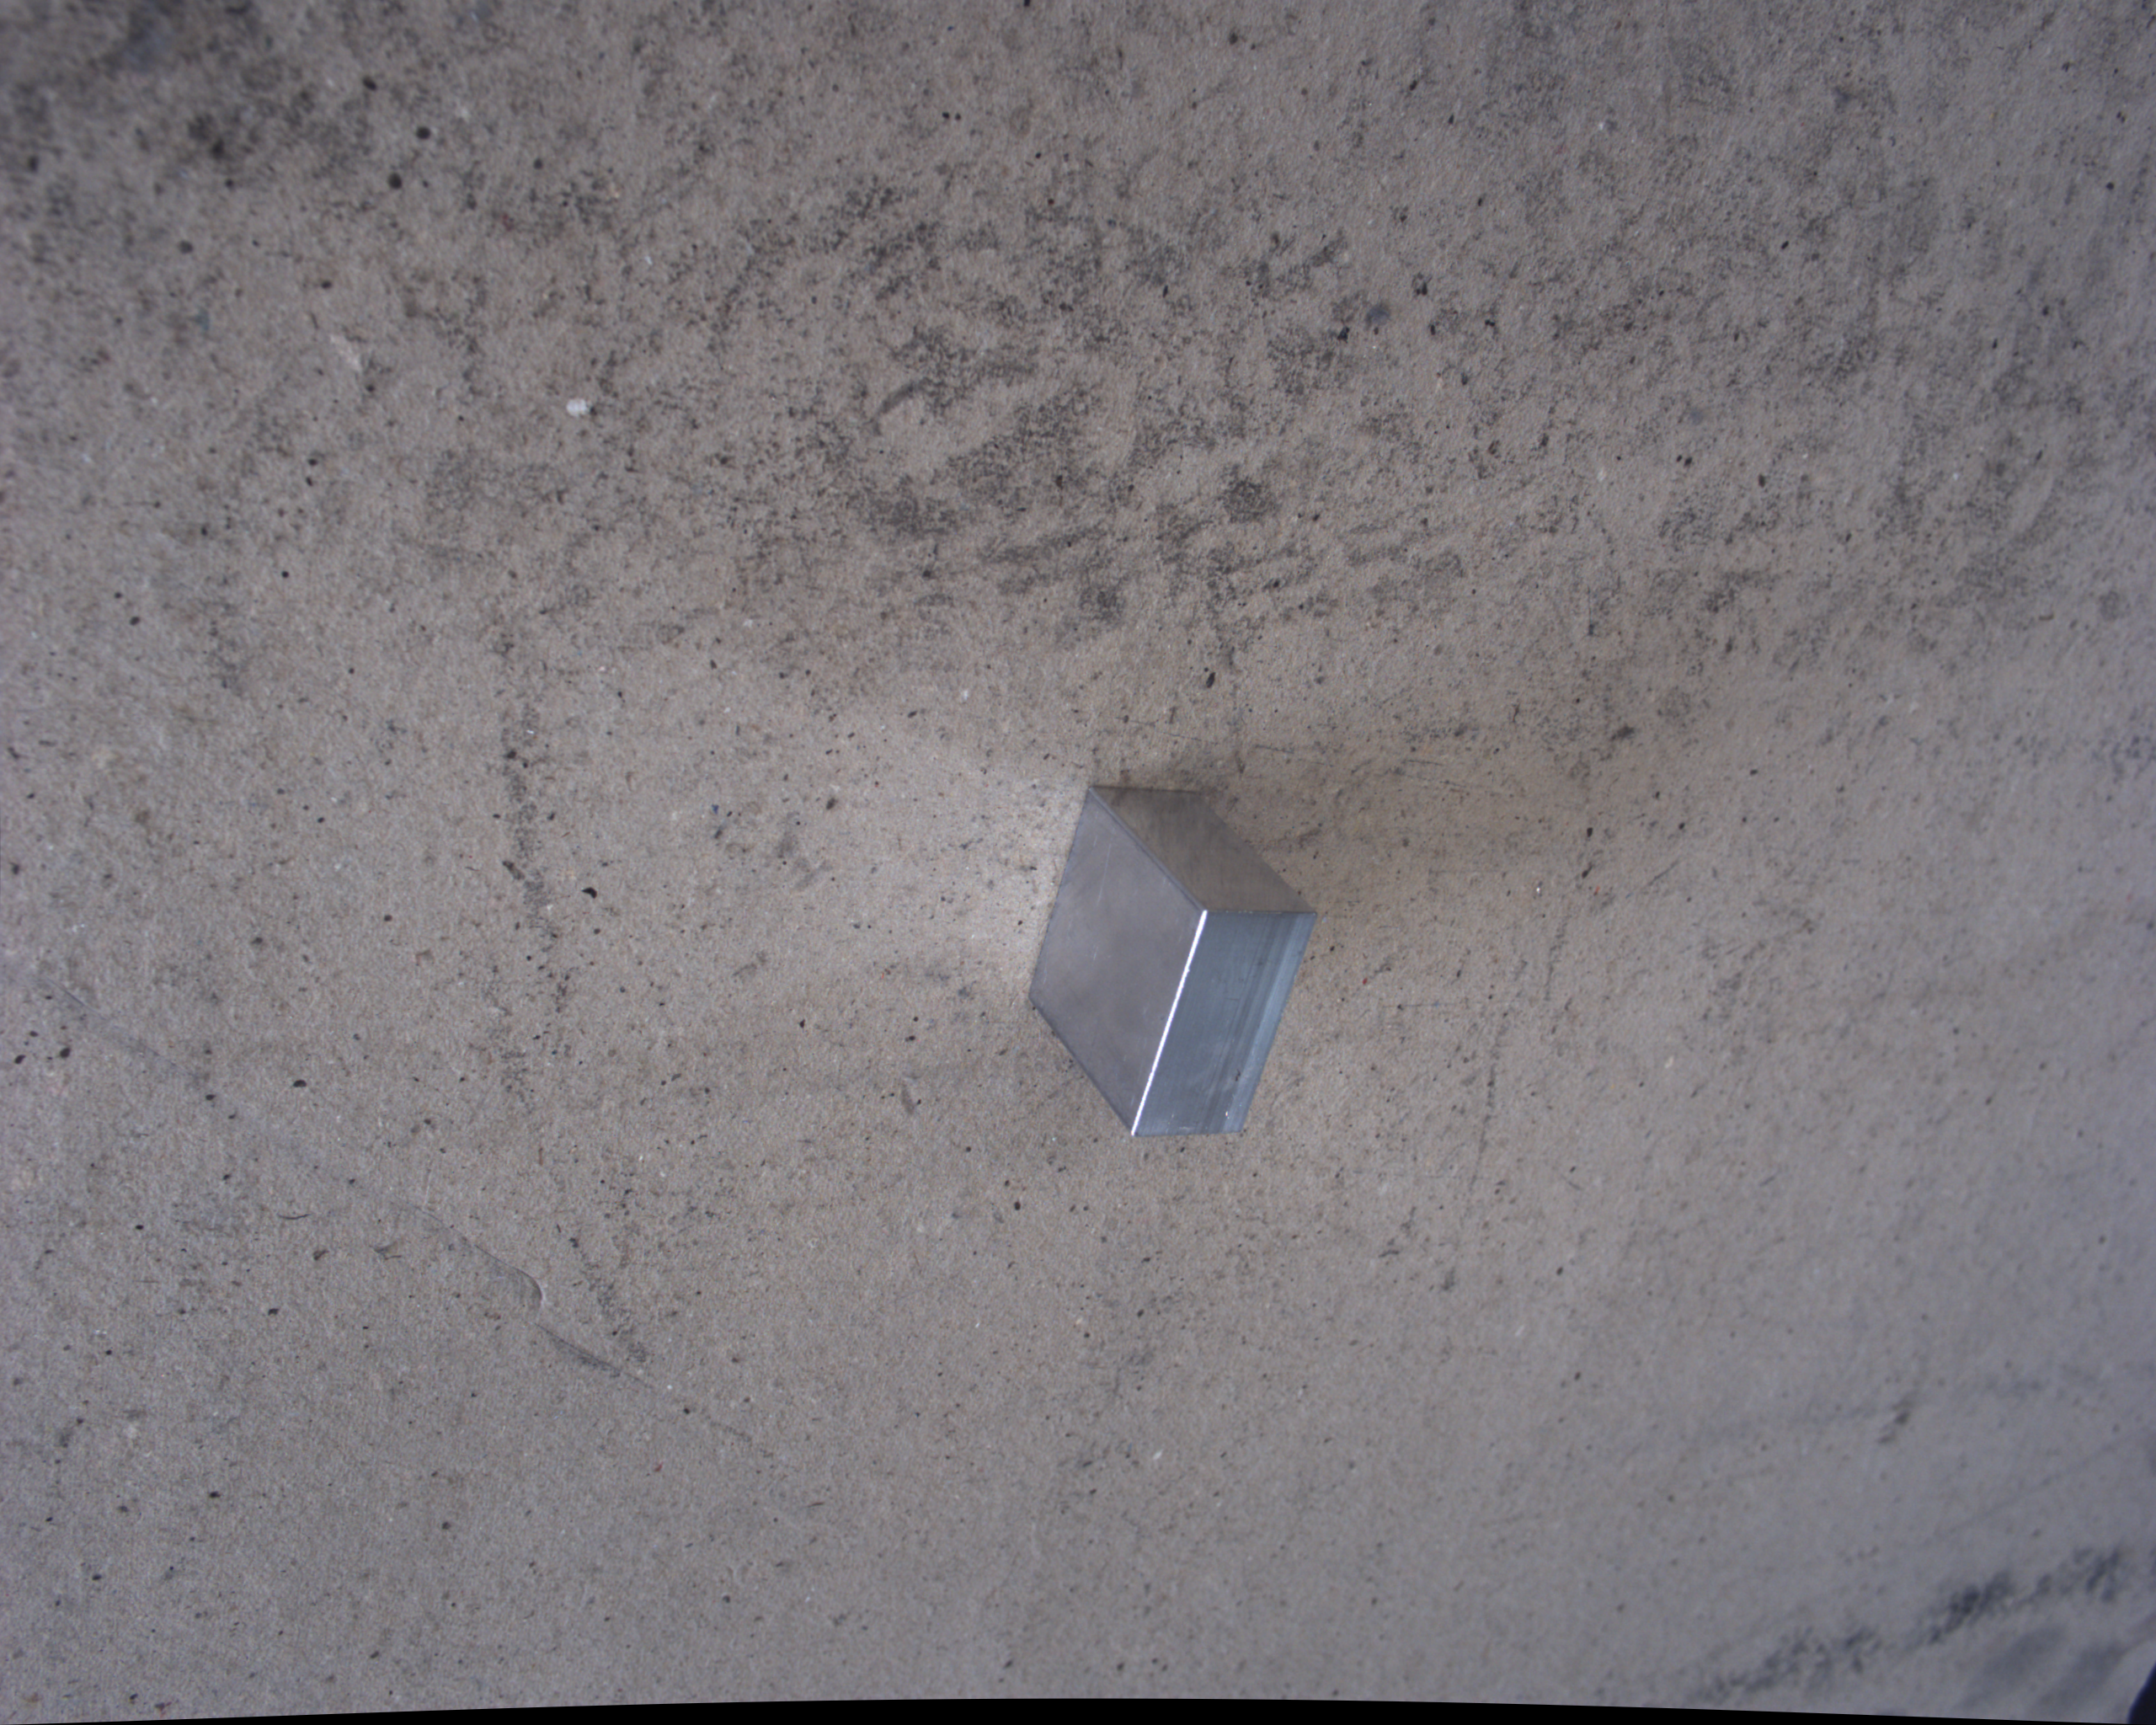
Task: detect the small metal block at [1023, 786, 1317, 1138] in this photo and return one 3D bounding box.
[{"bbox_3d":[0.017,0.019,0.412,0.025,0.050,0.050,2,118,-30],"label":"small metal block"}]
